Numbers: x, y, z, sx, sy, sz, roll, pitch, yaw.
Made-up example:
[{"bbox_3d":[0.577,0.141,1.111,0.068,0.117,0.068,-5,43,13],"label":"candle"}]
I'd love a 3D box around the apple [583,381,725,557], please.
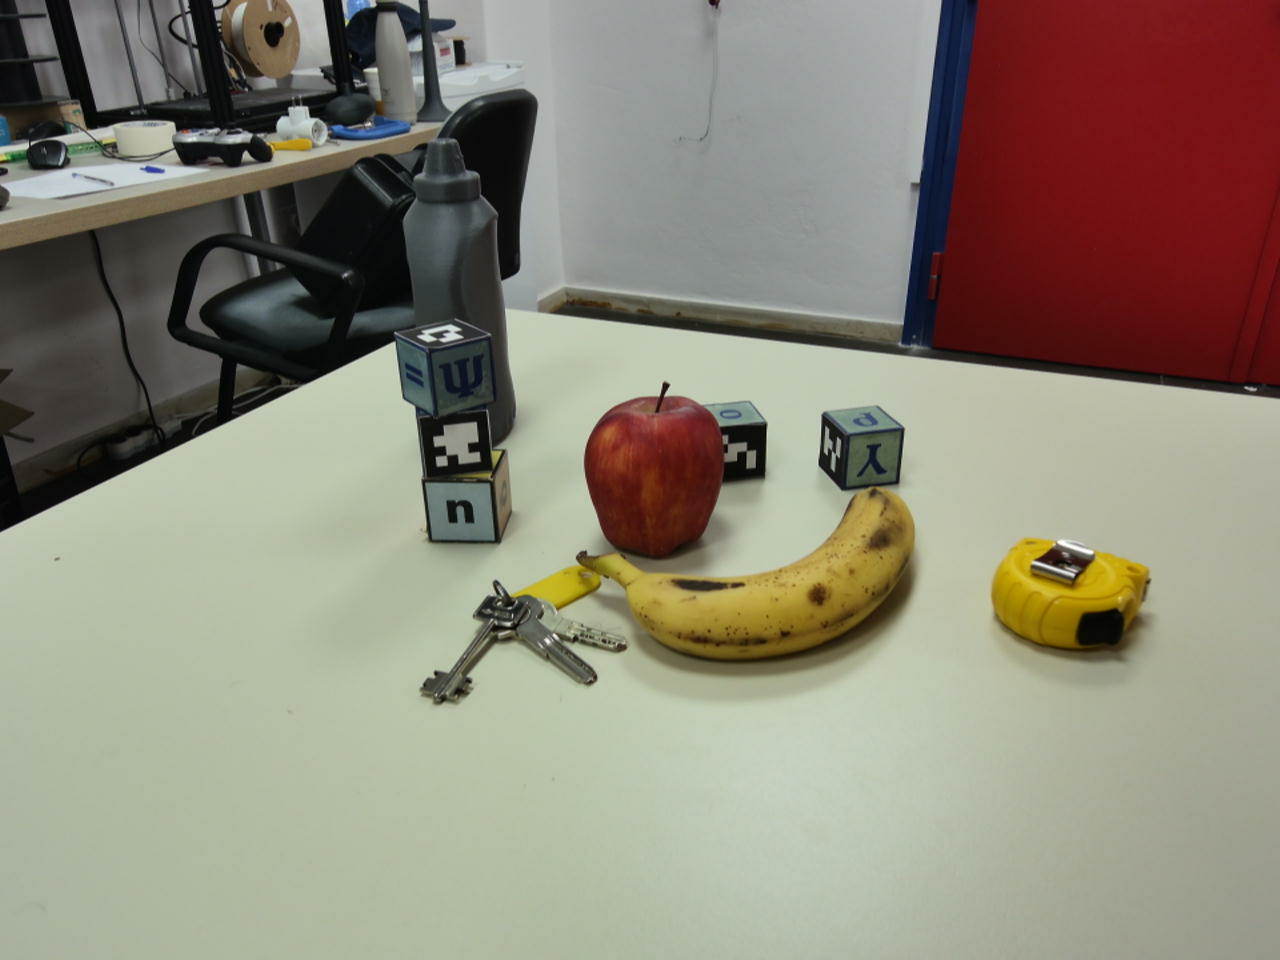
[{"bbox_3d":[0.008,-0.010,0.536,0.083,0.090,0.083,0,25,0],"label":"apple"}]
